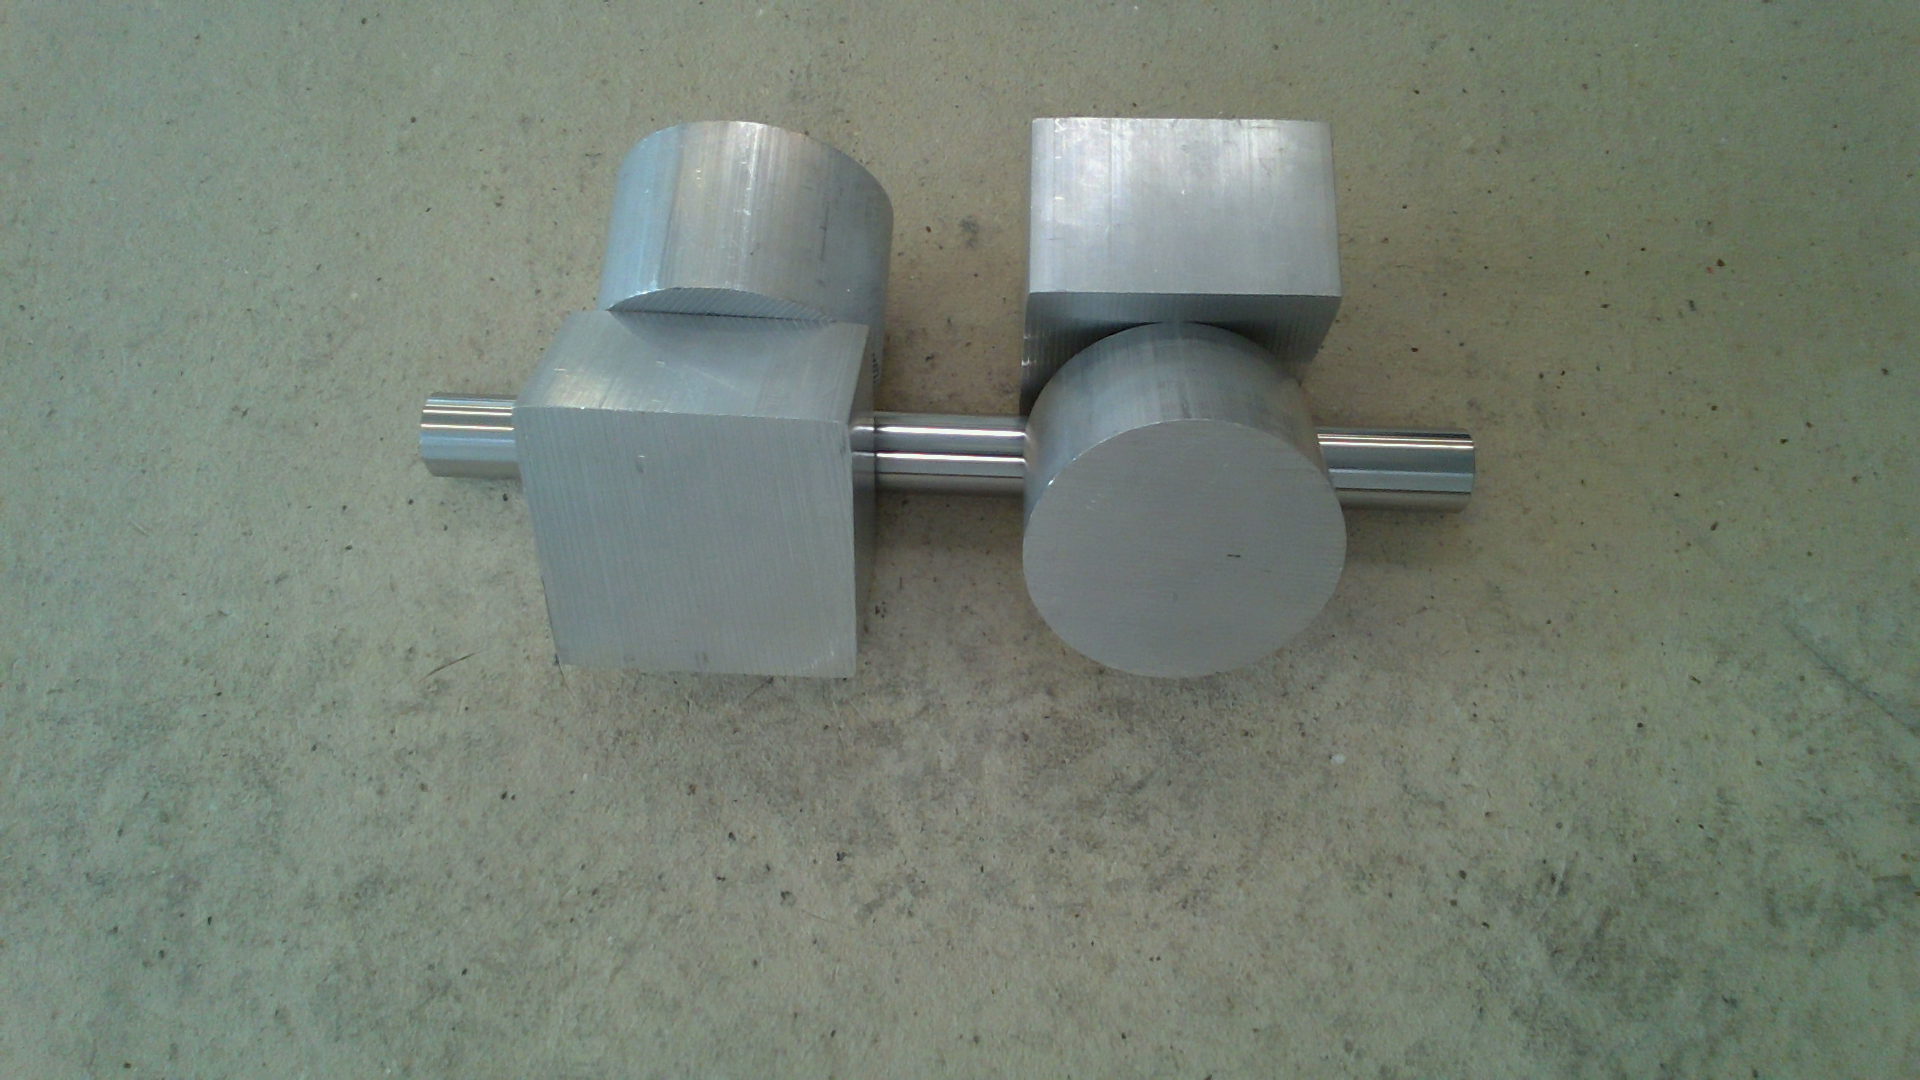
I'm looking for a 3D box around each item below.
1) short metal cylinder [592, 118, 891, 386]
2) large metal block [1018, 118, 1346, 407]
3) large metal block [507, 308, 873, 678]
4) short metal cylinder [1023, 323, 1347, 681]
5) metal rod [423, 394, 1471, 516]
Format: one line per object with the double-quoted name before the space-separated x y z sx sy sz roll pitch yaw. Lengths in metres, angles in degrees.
"short metal cylinder" -0.061 -0.074 0.392 0.080 0.080 0.050 3 70 1
"large metal block" 0.058 -0.073 0.392 0.080 0.080 0.050 1 70 1
"large metal block" -0.065 -0.012 0.363 0.080 0.080 0.050 2 36 1
"short metal cylinder" 0.056 -0.010 0.363 0.080 0.080 0.050 2 35 1
"metal rod" -0.004 -0.025 0.406 0.300 0.025 0.025 2 70 1
